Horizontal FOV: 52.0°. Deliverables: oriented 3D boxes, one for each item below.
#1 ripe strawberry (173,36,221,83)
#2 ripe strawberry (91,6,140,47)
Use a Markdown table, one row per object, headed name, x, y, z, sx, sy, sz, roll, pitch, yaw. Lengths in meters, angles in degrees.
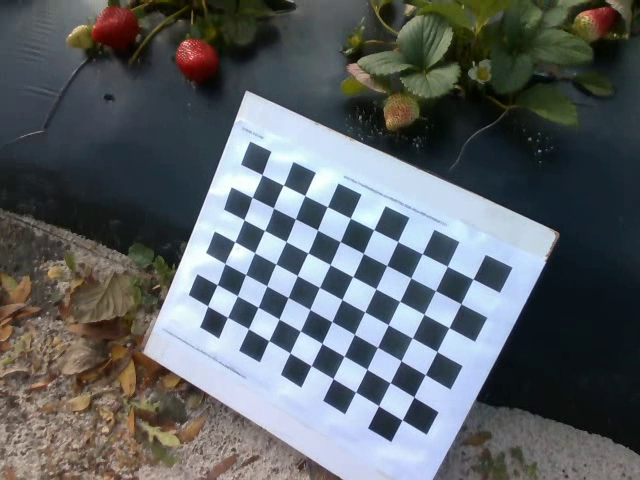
| name | x | y | z | sx | sy | sz | roll | pitch | yaw |
| --- | --- | --- | --- | --- | --- | --- | --- | --- | --- |
| ripe strawberry | -0.076 | -0.128 | 0.471 | 0.033 | 0.038 | 0.039 | 33 | 19 | -5 |
| ripe strawberry | -0.139 | -0.156 | 0.486 | 0.035 | 0.041 | 0.036 | 12 | 27 | 20 |
